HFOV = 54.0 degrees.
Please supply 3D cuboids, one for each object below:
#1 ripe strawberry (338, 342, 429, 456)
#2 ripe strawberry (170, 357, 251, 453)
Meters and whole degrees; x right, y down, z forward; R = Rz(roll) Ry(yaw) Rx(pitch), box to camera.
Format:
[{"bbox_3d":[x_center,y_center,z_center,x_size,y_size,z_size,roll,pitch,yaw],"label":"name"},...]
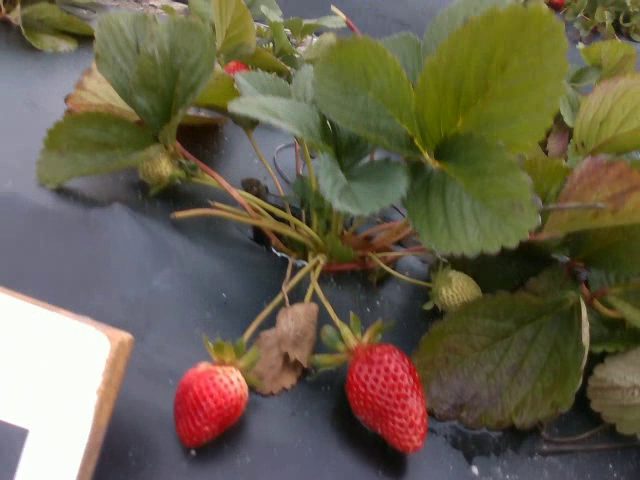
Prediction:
[{"bbox_3d":[0.031,0.069,0.276,0.044,0.059,0.042,-30,-29,6],"label":"ripe strawberry"},{"bbox_3d":[-0.048,0.068,0.262,0.036,0.041,0.028,17,-26,11],"label":"ripe strawberry"}]
